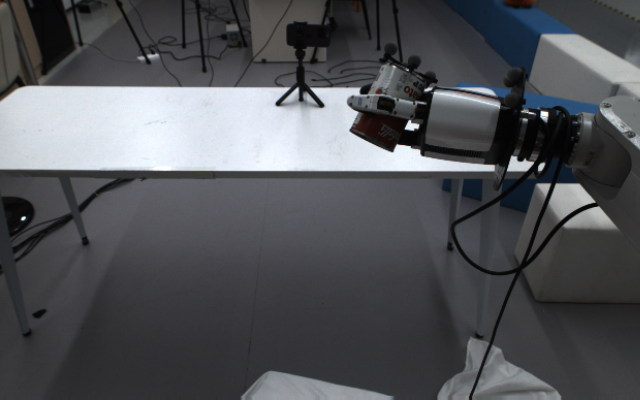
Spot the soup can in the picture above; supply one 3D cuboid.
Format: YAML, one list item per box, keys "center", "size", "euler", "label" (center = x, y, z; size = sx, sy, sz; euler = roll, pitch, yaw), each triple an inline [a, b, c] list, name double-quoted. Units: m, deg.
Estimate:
- center: [0.093, -0.124, 0.654]
  size: [0.067, 0.101, 0.067]
  euler: [26, 5, -3]
  label: "soup can"
